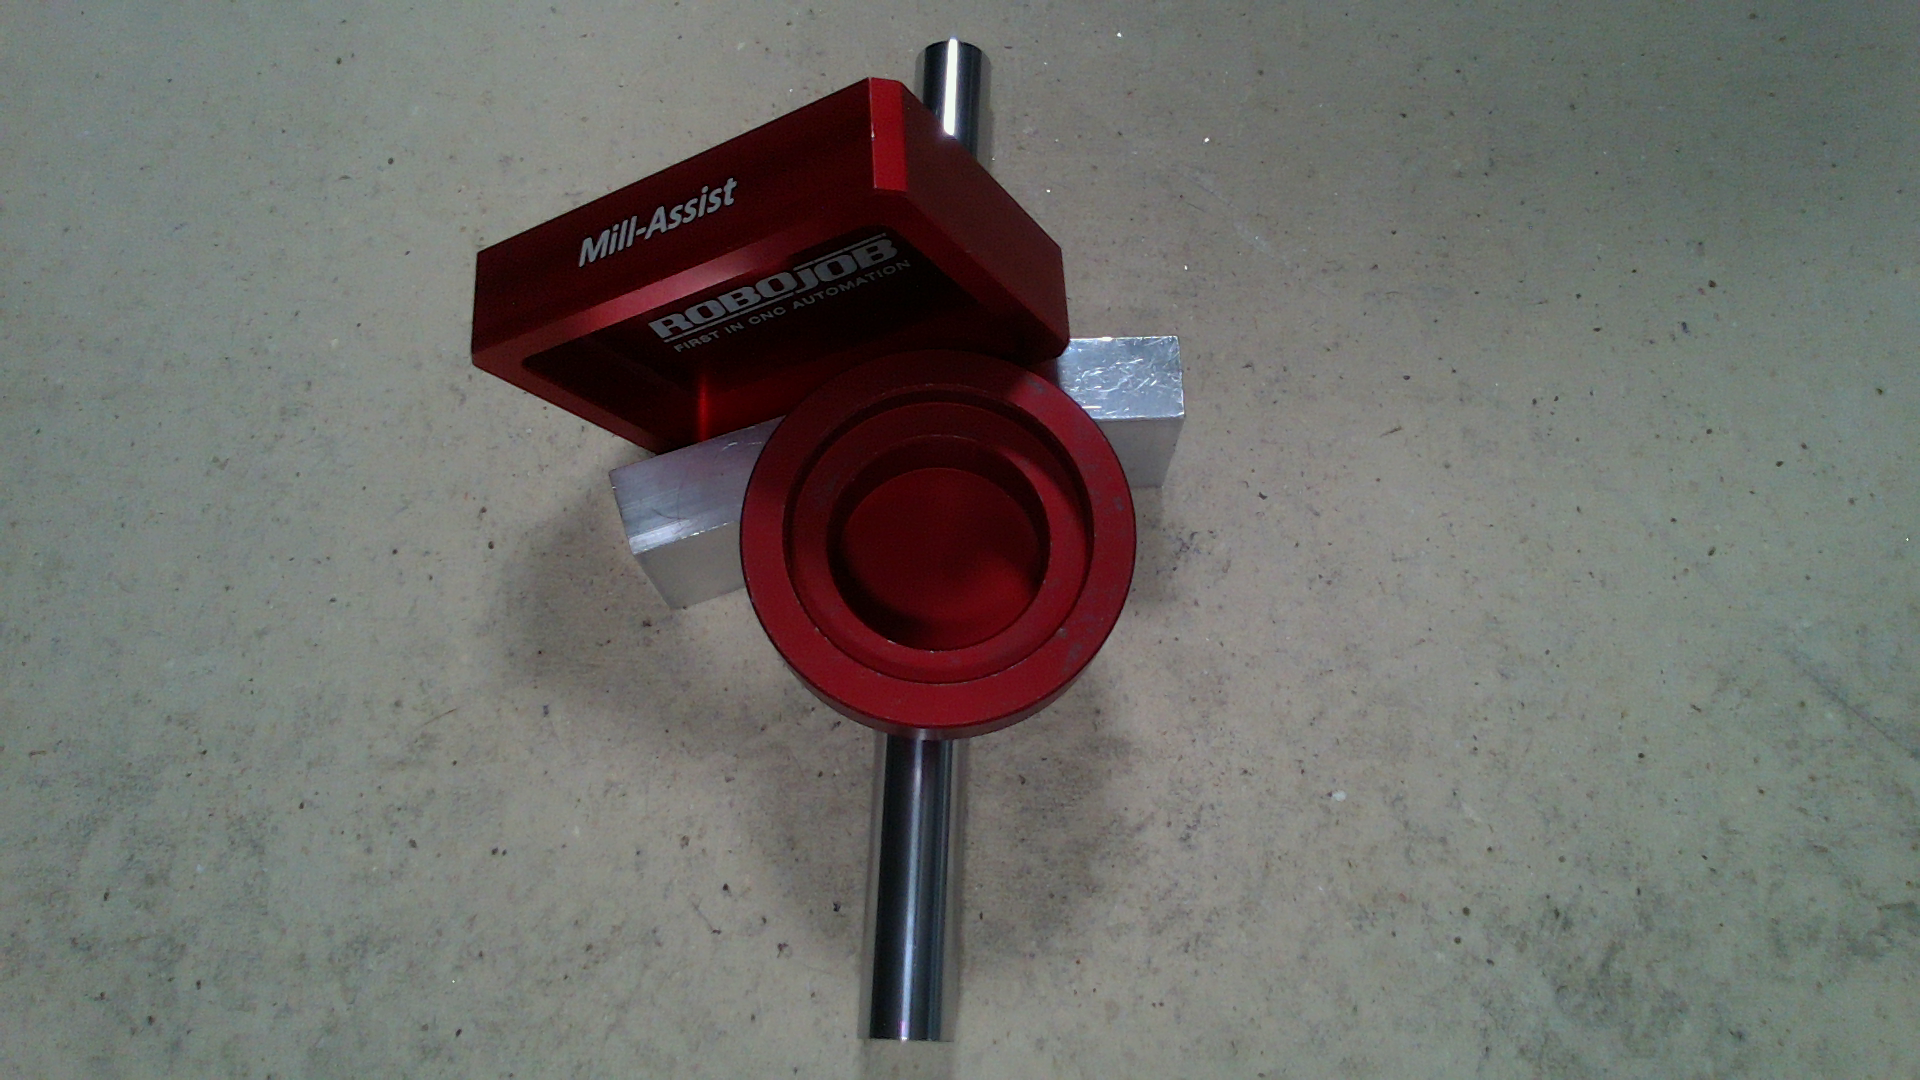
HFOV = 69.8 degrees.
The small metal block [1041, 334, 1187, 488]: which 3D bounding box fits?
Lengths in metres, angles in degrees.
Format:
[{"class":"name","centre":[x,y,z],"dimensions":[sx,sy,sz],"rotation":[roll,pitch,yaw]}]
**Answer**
[{"class":"small metal block","centre":[0.035,-0.035,0.394],"dimensions":[0.050,0.050,0.025],"rotation":[-2,70,0]}]

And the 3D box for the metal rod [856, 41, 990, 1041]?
[{"class":"metal rod","centre":[-0.008,-0.014,0.400],"dimensions":[0.025,0.025,0.300],"rotation":[2,70,1]}]

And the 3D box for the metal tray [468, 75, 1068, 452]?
[{"class":"metal tray","centre":[-0.049,-0.061,0.358],"dimensions":[0.130,0.090,0.030],"rotation":[-15,66,26]}]

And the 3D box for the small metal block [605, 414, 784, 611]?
[{"class":"small metal block","centre":[-0.065,-0.007,0.384],"dimensions":[0.050,0.050,0.025],"rotation":[-18,71,-6]}]

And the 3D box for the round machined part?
[{"class":"round machined part","centre":[-0.006,0.003,0.355],"dimensions":[0.098,0.042,0.098],"rotation":[1,73,-2]}]
